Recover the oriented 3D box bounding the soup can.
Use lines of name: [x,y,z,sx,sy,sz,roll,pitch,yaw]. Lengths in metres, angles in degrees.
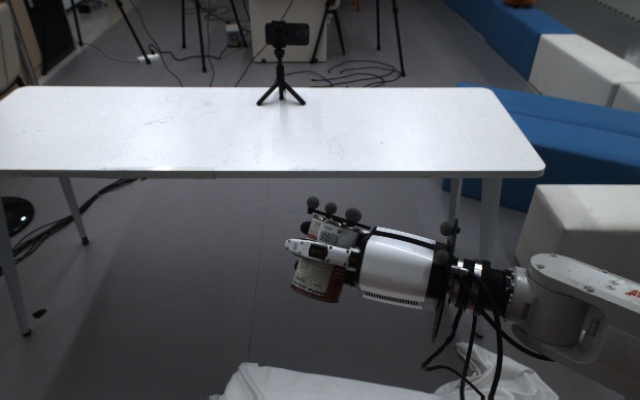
soup can: [0.009,0.078,0.645,0.067,0.101,0.067,17,-1,0]
